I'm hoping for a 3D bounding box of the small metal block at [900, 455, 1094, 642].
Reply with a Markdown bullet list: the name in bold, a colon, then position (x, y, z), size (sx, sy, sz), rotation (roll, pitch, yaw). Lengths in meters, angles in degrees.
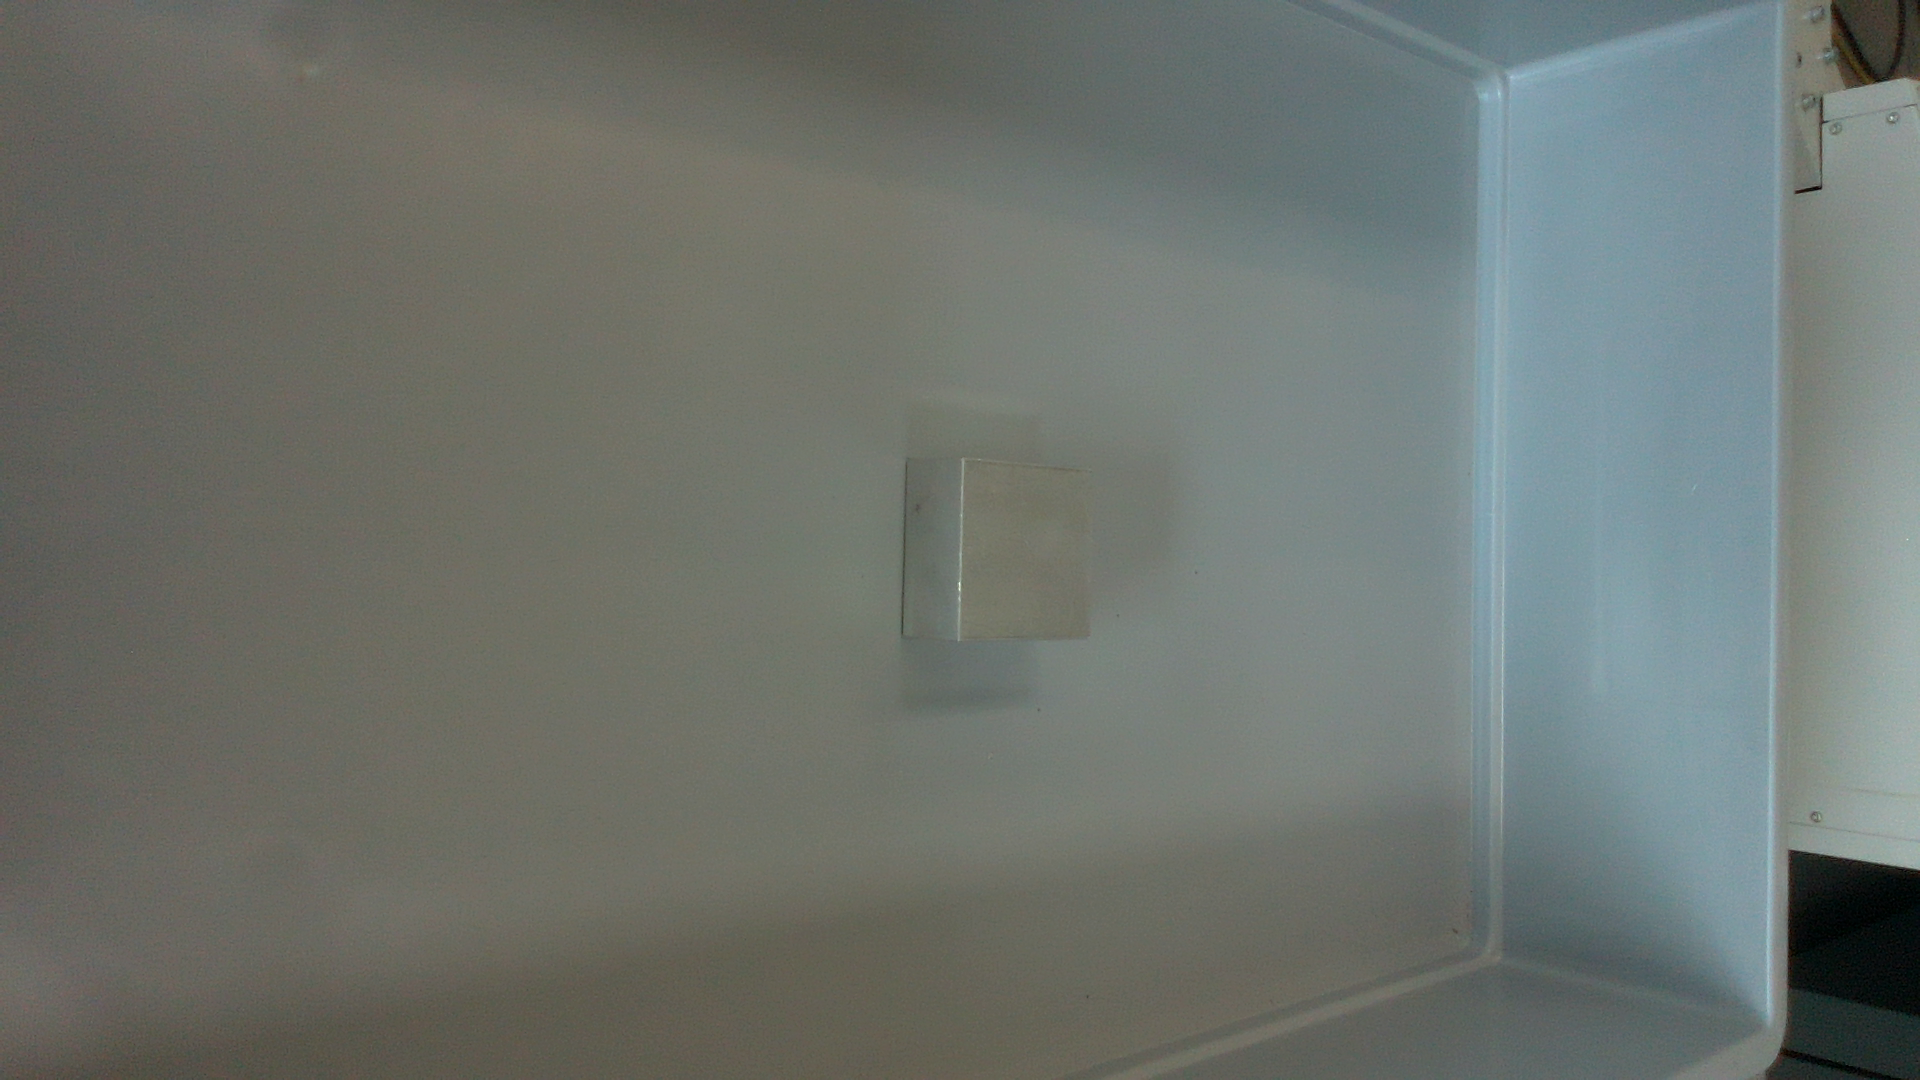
- **small metal block**: position (0.011, 0.003, 0.393), size (0.050, 0.025, 0.050), rotation (2, 89, -39)
